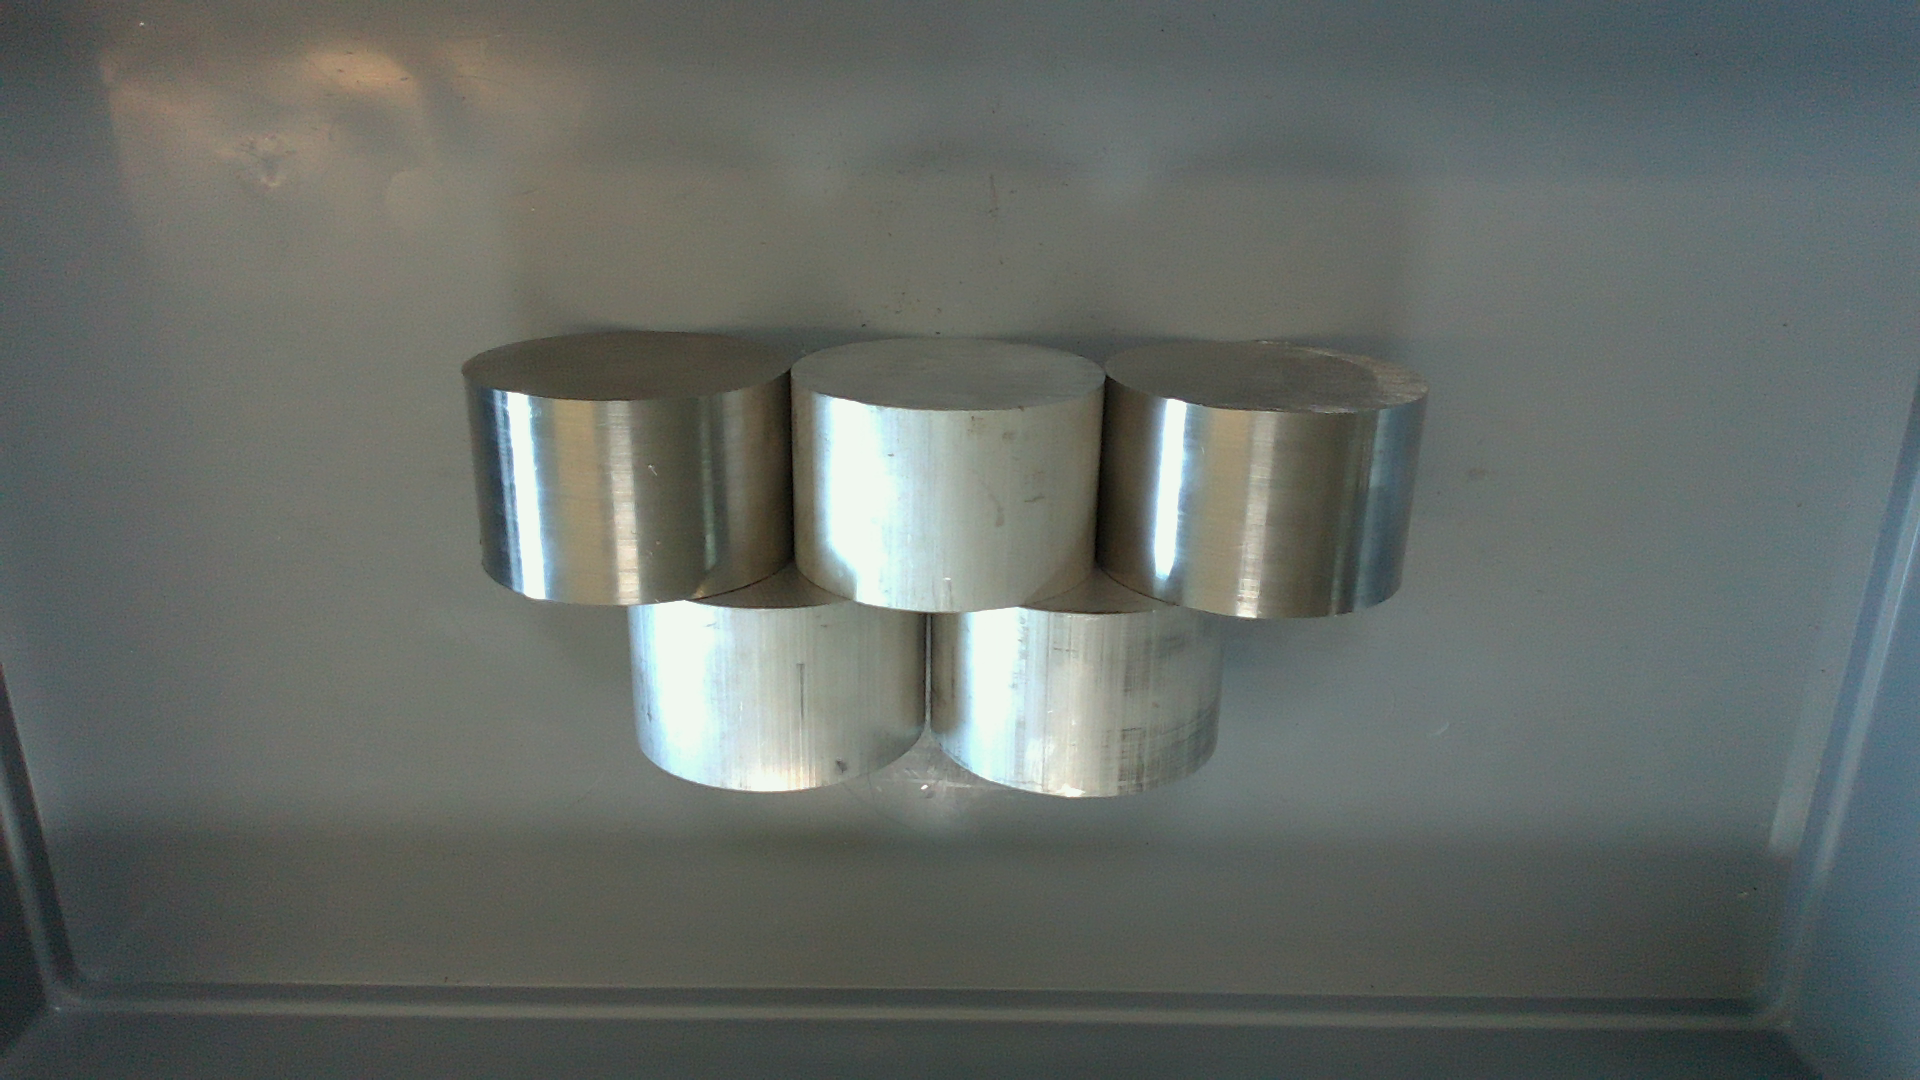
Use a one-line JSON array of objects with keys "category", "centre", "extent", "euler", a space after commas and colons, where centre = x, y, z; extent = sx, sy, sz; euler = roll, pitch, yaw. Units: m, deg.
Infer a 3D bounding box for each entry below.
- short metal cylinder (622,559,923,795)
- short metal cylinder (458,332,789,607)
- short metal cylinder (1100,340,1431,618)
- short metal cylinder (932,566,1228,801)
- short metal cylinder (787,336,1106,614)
[{"category": "short metal cylinder", "centre": [-0.050, 0.026, 0.373], "extent": [0.080, 0.080, 0.050], "euler": [1, 110, 0]}, {"category": "short metal cylinder", "centre": [-0.084, -0.021, 0.355], "extent": [0.080, 0.080, 0.050], "euler": [1, 110, 0]}, {"category": "short metal cylinder", "centre": [0.077, -0.019, 0.357], "extent": [0.080, 0.080, 0.050], "euler": [2, 110, -1]}, {"category": "short metal cylinder", "centre": [0.032, 0.028, 0.374], "extent": [0.080, 0.080, 0.050], "euler": [1, 110, 0]}, {"category": "short metal cylinder", "centre": [-0.004, -0.020, 0.356], "extent": [0.080, 0.080, 0.050], "euler": [1, 110, 0]}]
